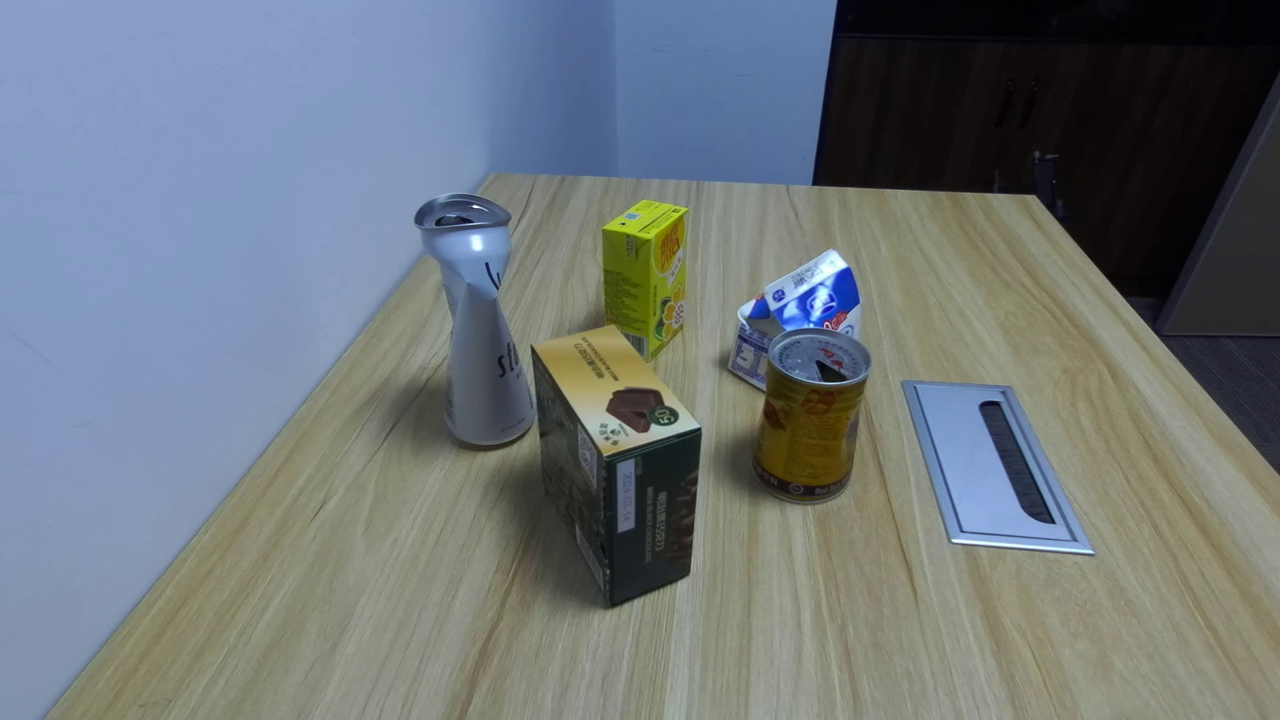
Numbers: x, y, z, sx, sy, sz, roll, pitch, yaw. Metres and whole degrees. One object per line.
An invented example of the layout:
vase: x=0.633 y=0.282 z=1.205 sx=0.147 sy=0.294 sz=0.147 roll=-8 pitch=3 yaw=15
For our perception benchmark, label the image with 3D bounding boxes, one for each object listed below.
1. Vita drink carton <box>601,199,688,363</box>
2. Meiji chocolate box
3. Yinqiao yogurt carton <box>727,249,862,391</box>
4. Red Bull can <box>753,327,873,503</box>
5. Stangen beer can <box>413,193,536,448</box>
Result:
Vita drink carton: x=0.005 y=-0.063 z=0.560 sx=0.043 sy=0.109 sz=0.067 roll=17 pitch=39 yaw=24
Meiji chocolate box: x=-0.016 y=0.056 z=0.395 sx=0.056 sy=0.109 sz=0.109 roll=-15 pitch=37 yaw=-21
Yinqiao yogurt carton: x=0.120 y=-0.031 z=0.527 sx=0.083 sy=0.093 sz=0.077 roll=-26 pitch=41 yaw=-35
Red Bull can: x=0.105 y=0.034 z=0.436 sx=0.069 sy=0.092 sz=0.069 roll=0 pitch=36 yaw=1
Stangen beer can: x=-0.105 y=-0.021 z=0.464 sx=0.077 sy=0.162 sz=0.066 roll=17 pitch=40 yaw=21
